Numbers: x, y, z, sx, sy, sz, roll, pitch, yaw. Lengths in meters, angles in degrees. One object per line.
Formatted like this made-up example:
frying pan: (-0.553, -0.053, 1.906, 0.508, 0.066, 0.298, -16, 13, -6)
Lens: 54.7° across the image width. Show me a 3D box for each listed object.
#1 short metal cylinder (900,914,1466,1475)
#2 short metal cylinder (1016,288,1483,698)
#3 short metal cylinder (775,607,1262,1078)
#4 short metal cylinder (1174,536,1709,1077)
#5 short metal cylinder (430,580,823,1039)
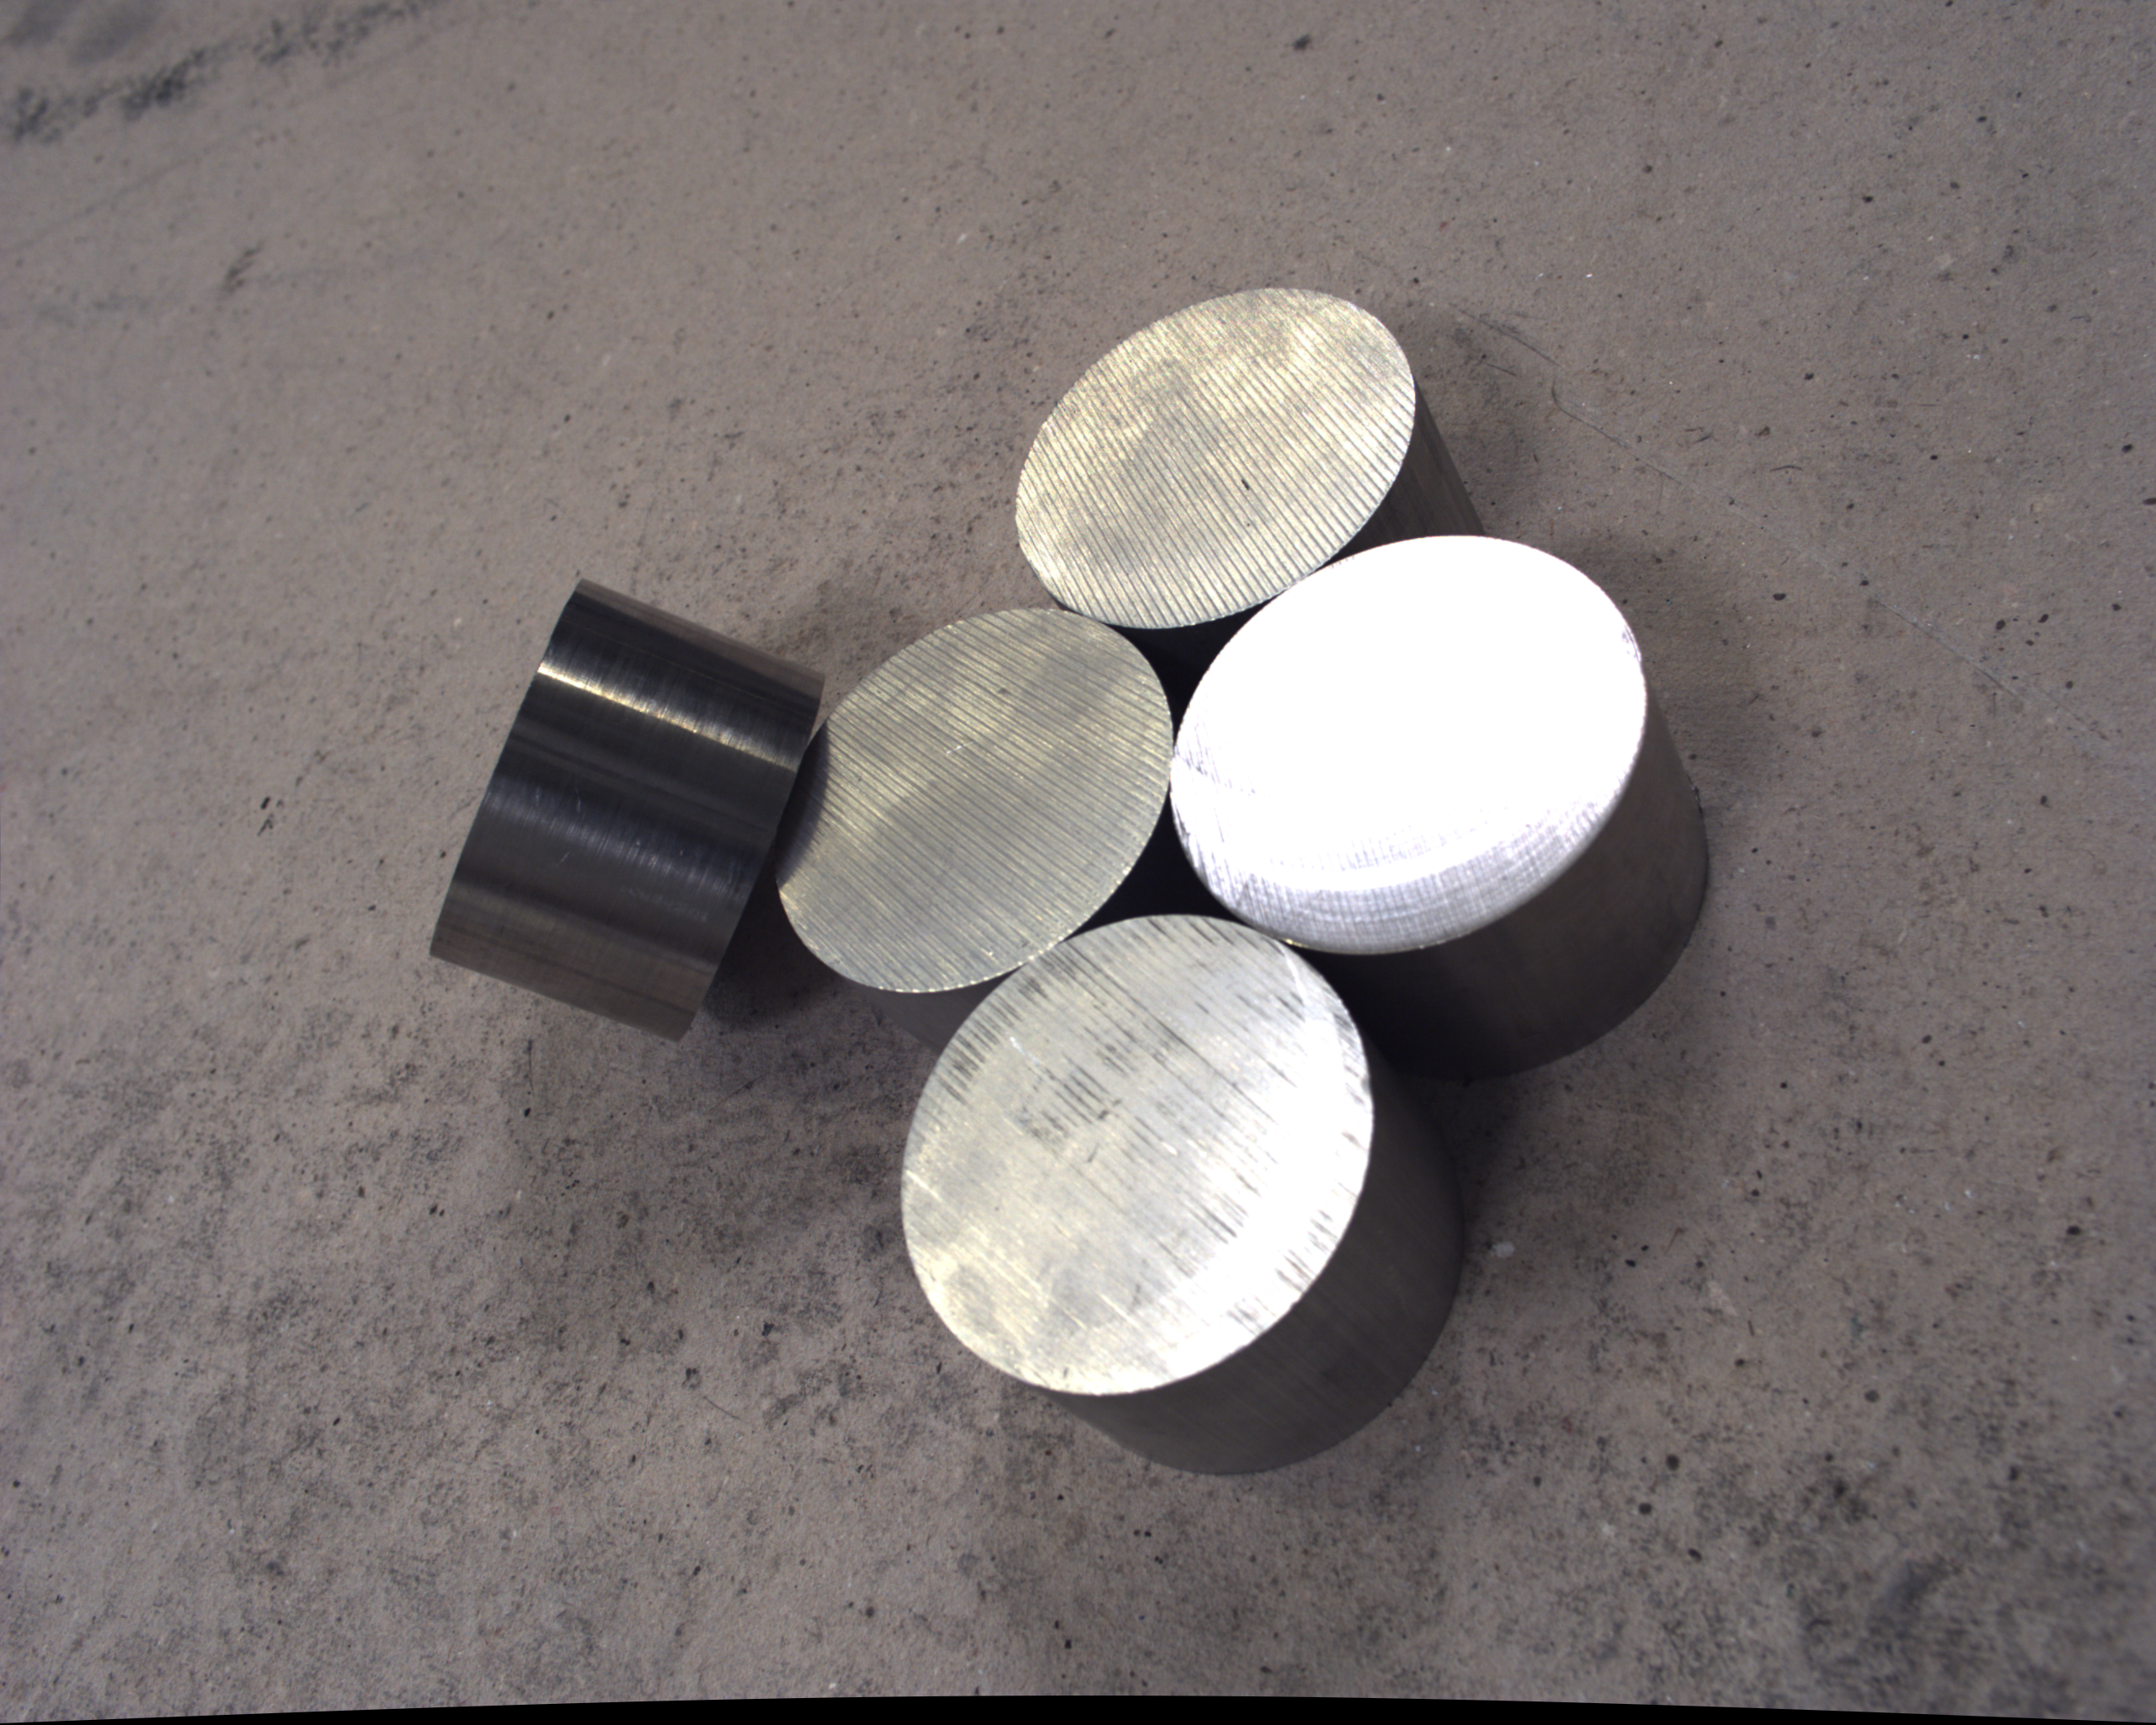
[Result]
short metal cylinder: (0.018, 0.055, 0.346, 0.080, 0.050, 0.080, -13, 56, 21)
short metal cylinder: (0.035, -0.065, 0.411, 0.080, 0.050, 0.080, -13, 56, 21)
short metal cylinder: (-0.009, -0.001, 0.395, 0.080, 0.050, 0.080, -13, 56, 21)
short metal cylinder: (0.064, -0.009, 0.362, 0.080, 0.050, 0.080, -13, 56, 21)
short metal cylinder: (-0.090, -0.010, 0.416, 0.080, 0.050, 0.080, -157, 89, -78)
